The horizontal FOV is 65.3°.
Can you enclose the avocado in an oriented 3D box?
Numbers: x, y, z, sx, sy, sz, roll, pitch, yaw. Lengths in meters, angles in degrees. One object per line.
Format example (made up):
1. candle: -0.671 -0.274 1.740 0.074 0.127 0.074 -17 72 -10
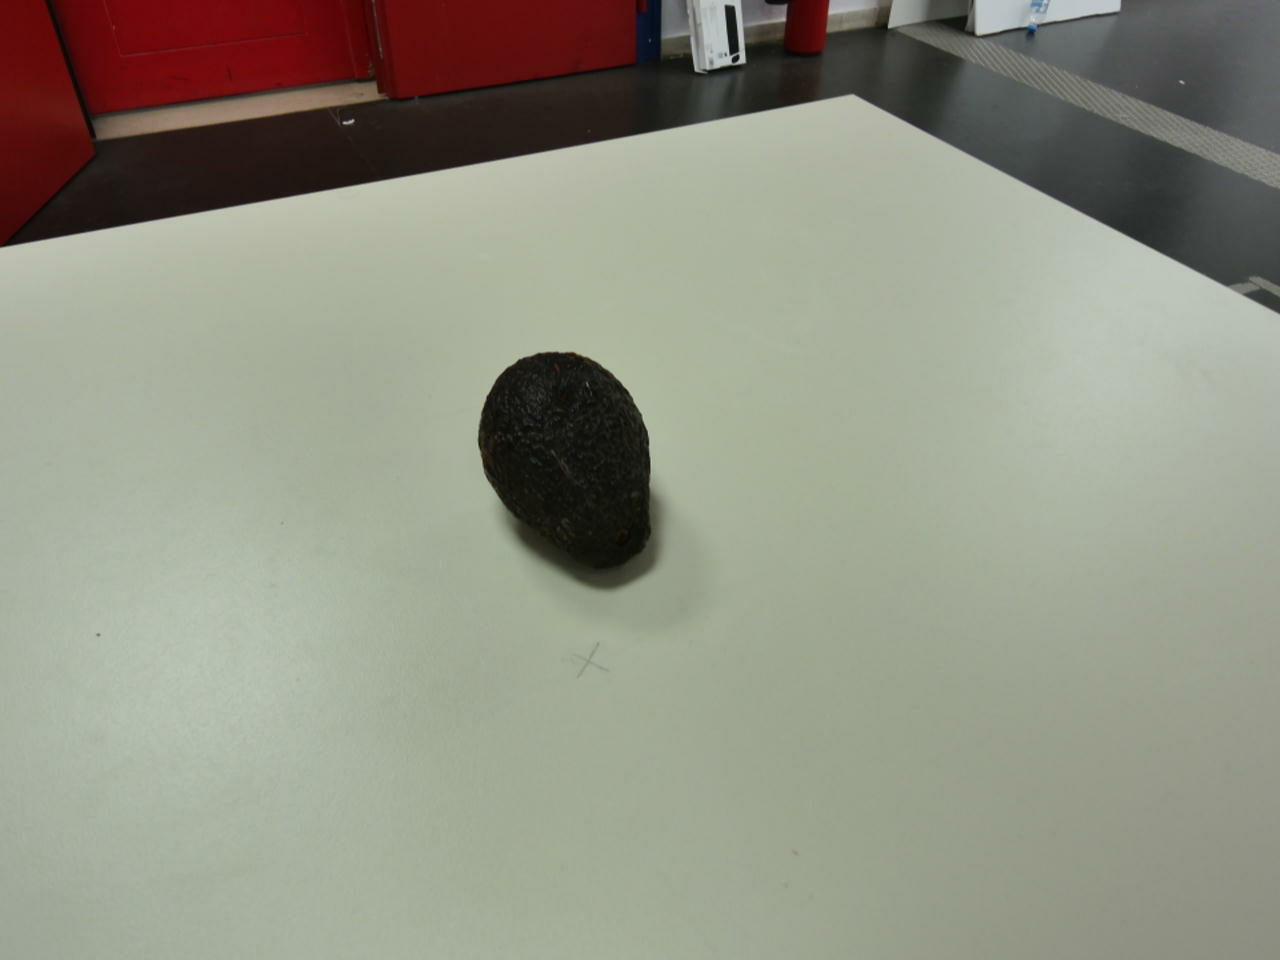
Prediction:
1. avocado: -0.031 -0.012 0.407 0.070 0.069 0.090 -2 38 -2
